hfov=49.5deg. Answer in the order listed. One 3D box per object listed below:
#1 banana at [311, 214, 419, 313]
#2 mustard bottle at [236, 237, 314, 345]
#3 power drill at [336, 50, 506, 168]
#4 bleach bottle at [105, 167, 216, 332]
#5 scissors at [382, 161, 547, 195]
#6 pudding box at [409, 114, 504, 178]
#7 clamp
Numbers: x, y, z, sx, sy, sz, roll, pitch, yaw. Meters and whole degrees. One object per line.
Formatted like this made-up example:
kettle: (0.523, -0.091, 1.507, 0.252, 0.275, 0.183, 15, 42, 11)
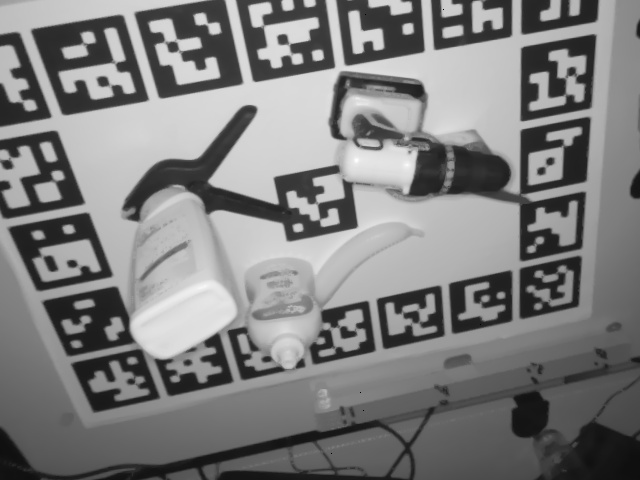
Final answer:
banana: (0.044, 0.027, 0.935, 0.195, 0.039, 0.075, -45, 132, 15)
mustard bottle: (-0.057, 0.066, 0.864, 0.097, 0.192, 0.058, 3, 119, -8)
power drill: (0.098, -0.140, 0.740, 0.186, 0.188, 0.057, 1, 126, -12)
bleach bottle: (-0.177, -0.012, 0.748, 0.103, 0.251, 0.068, -29, 123, 0)
scissors: (0.175, -0.080, 0.800, 0.204, 0.016, 0.087, 14, 111, -11)
pudding box: (0.158, -0.116, 0.852, 0.114, 0.090, 0.038, -6, 126, -5)
clamp: (-0.156, -0.083, 0.833, 0.203, 0.037, 0.164, -15, 118, 1)
